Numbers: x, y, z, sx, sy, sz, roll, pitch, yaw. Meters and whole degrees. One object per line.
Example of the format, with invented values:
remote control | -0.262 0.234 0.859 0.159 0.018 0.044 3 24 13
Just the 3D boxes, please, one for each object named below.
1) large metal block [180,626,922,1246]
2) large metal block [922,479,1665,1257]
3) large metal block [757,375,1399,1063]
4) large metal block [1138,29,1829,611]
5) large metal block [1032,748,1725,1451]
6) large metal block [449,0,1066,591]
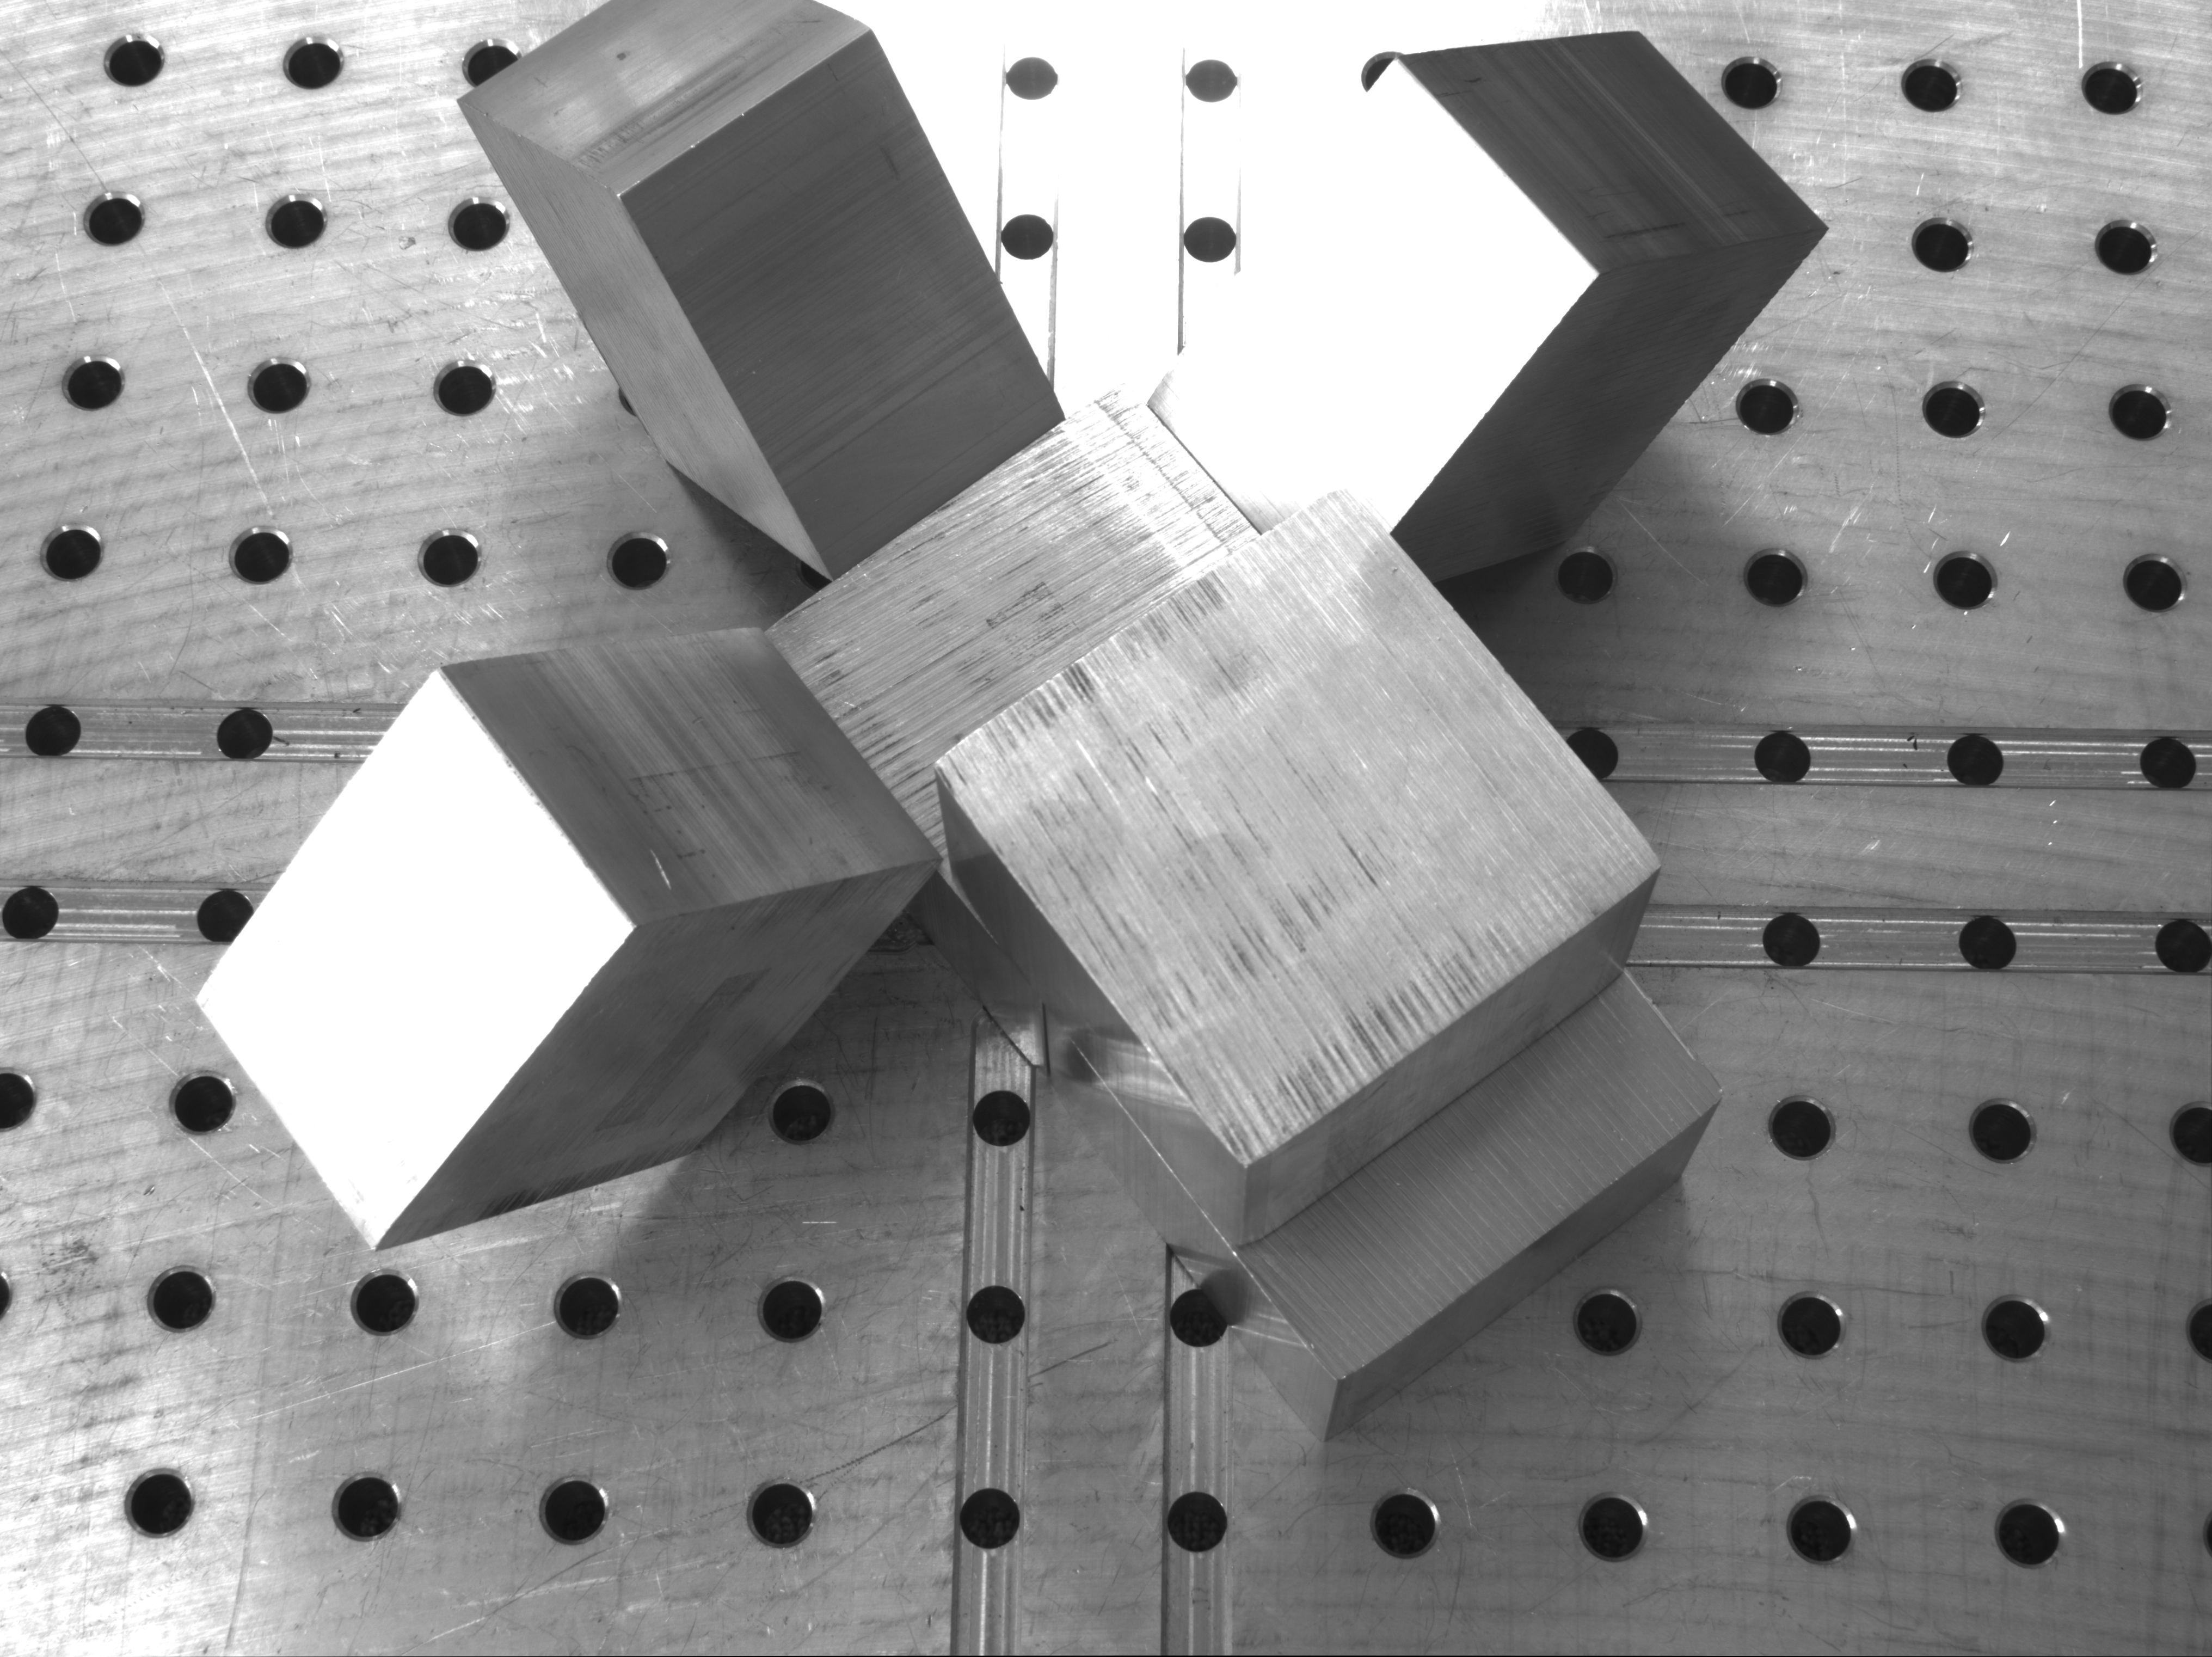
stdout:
large metal block | -0.089 0.016 0.597 0.050 0.080 0.080 50 119 17
large metal block | 0.028 0.007 0.578 0.080 0.050 0.080 -35 74 -13
large metal block | -0.004 -0.017 0.641 0.080 0.050 0.080 -36 74 -12
large metal block | 0.065 -0.089 0.635 0.050 0.080 0.080 50 37 16
large metal block | 0.044 0.044 0.618 0.080 0.050 0.080 -35 72 -13
large metal block | -0.061 -0.098 0.638 0.050 0.080 0.080 -36 34 -12
